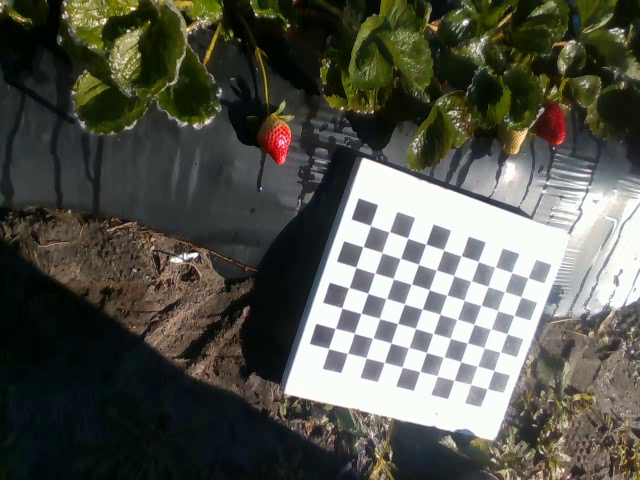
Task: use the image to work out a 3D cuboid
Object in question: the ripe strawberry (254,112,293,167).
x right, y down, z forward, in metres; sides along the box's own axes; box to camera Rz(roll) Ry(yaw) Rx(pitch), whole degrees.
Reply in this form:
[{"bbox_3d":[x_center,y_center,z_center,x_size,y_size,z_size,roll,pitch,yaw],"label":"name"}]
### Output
[{"bbox_3d":[-0.042,-0.098,0.587,0.039,0.053,0.040,-6,-5,-16],"label":"ripe strawberry"}]
